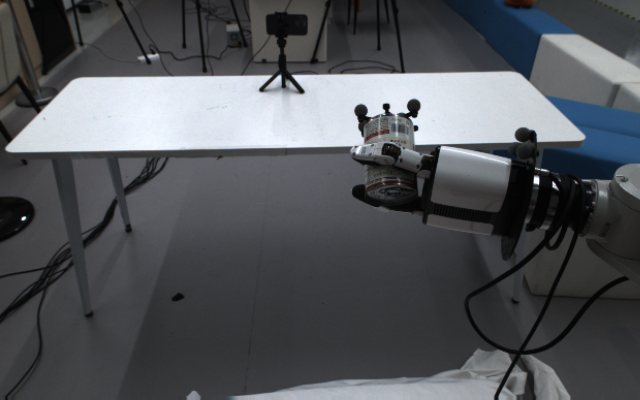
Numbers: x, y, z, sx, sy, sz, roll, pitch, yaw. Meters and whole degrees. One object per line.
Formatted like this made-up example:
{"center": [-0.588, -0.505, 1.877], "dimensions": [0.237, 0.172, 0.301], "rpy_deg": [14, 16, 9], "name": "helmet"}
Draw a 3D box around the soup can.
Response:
{"center": [0.091, -0.052, 0.624], "dimensions": [0.067, 0.067, 0.101], "rpy_deg": [2, 68, -1], "name": "soup can"}
